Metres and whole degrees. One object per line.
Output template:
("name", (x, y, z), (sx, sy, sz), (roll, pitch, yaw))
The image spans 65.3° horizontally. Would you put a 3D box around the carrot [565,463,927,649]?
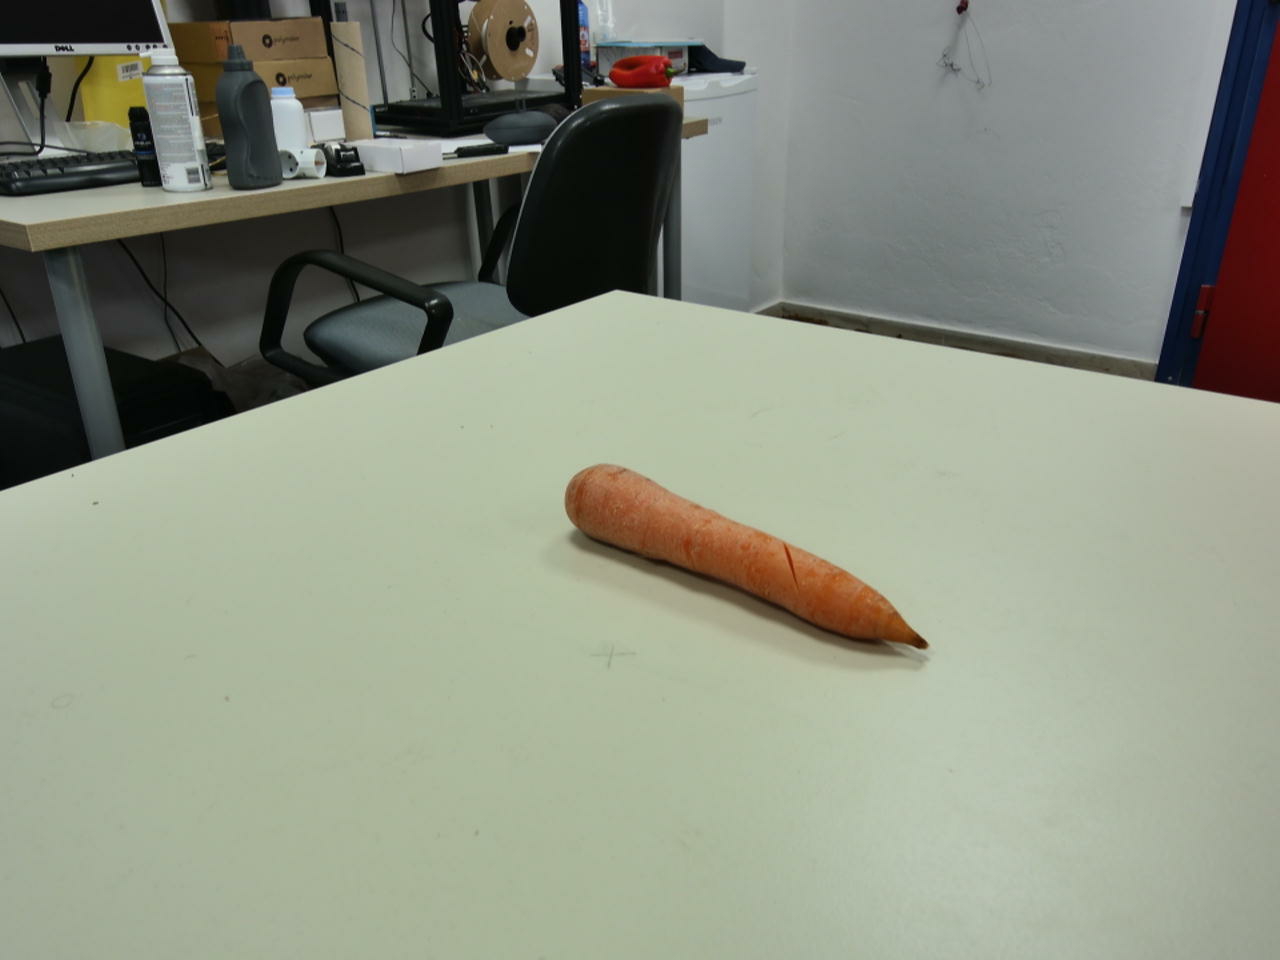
("carrot", (0.044, 0.031, 0.466), (0.196, 0.041, 0.039), (18, 28, 35))
